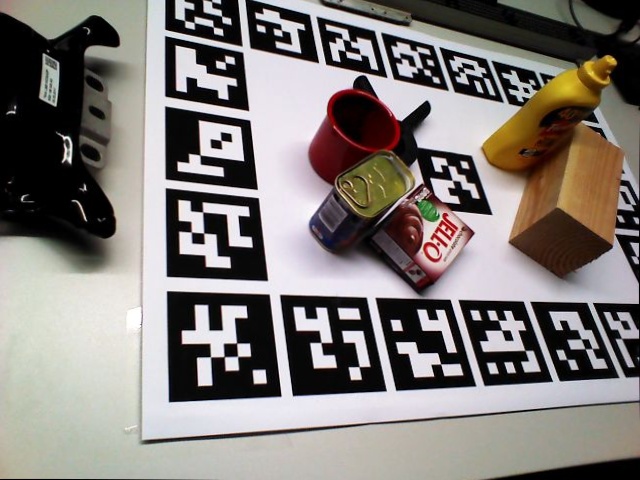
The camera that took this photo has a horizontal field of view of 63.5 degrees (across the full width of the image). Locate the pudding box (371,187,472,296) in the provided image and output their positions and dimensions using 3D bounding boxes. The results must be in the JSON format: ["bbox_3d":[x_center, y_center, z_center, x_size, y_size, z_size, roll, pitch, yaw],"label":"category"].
[{"bbox_3d":[0.126,-0.002,0.610,0.090,0.039,0.113,46,52,4],"label":"pudding box"}]

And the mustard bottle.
[{"bbox_3d":[0.325,-0.174,0.705,0.096,0.193,0.058,-1,64,-25],"label":"mustard bottle"}]

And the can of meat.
[{"bbox_3d":[0.044,-0.040,0.559,0.101,0.084,0.058,-29,78,-35],"label":"can of meat"}]

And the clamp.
[{"bbox_3d":[0.097,-0.149,0.688,0.122,0.037,0.164,22,57,-14],"label":"clamp"}]

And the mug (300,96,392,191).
[{"bbox_3d":[0.029,-0.121,0.634,0.093,0.082,0.116,24,57,-11],"label":"mug"}]

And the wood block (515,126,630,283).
[{"bbox_3d":[0.355,-0.054,0.720,0.090,0.091,0.204,35,51,-1],"label":"wood block"}]
